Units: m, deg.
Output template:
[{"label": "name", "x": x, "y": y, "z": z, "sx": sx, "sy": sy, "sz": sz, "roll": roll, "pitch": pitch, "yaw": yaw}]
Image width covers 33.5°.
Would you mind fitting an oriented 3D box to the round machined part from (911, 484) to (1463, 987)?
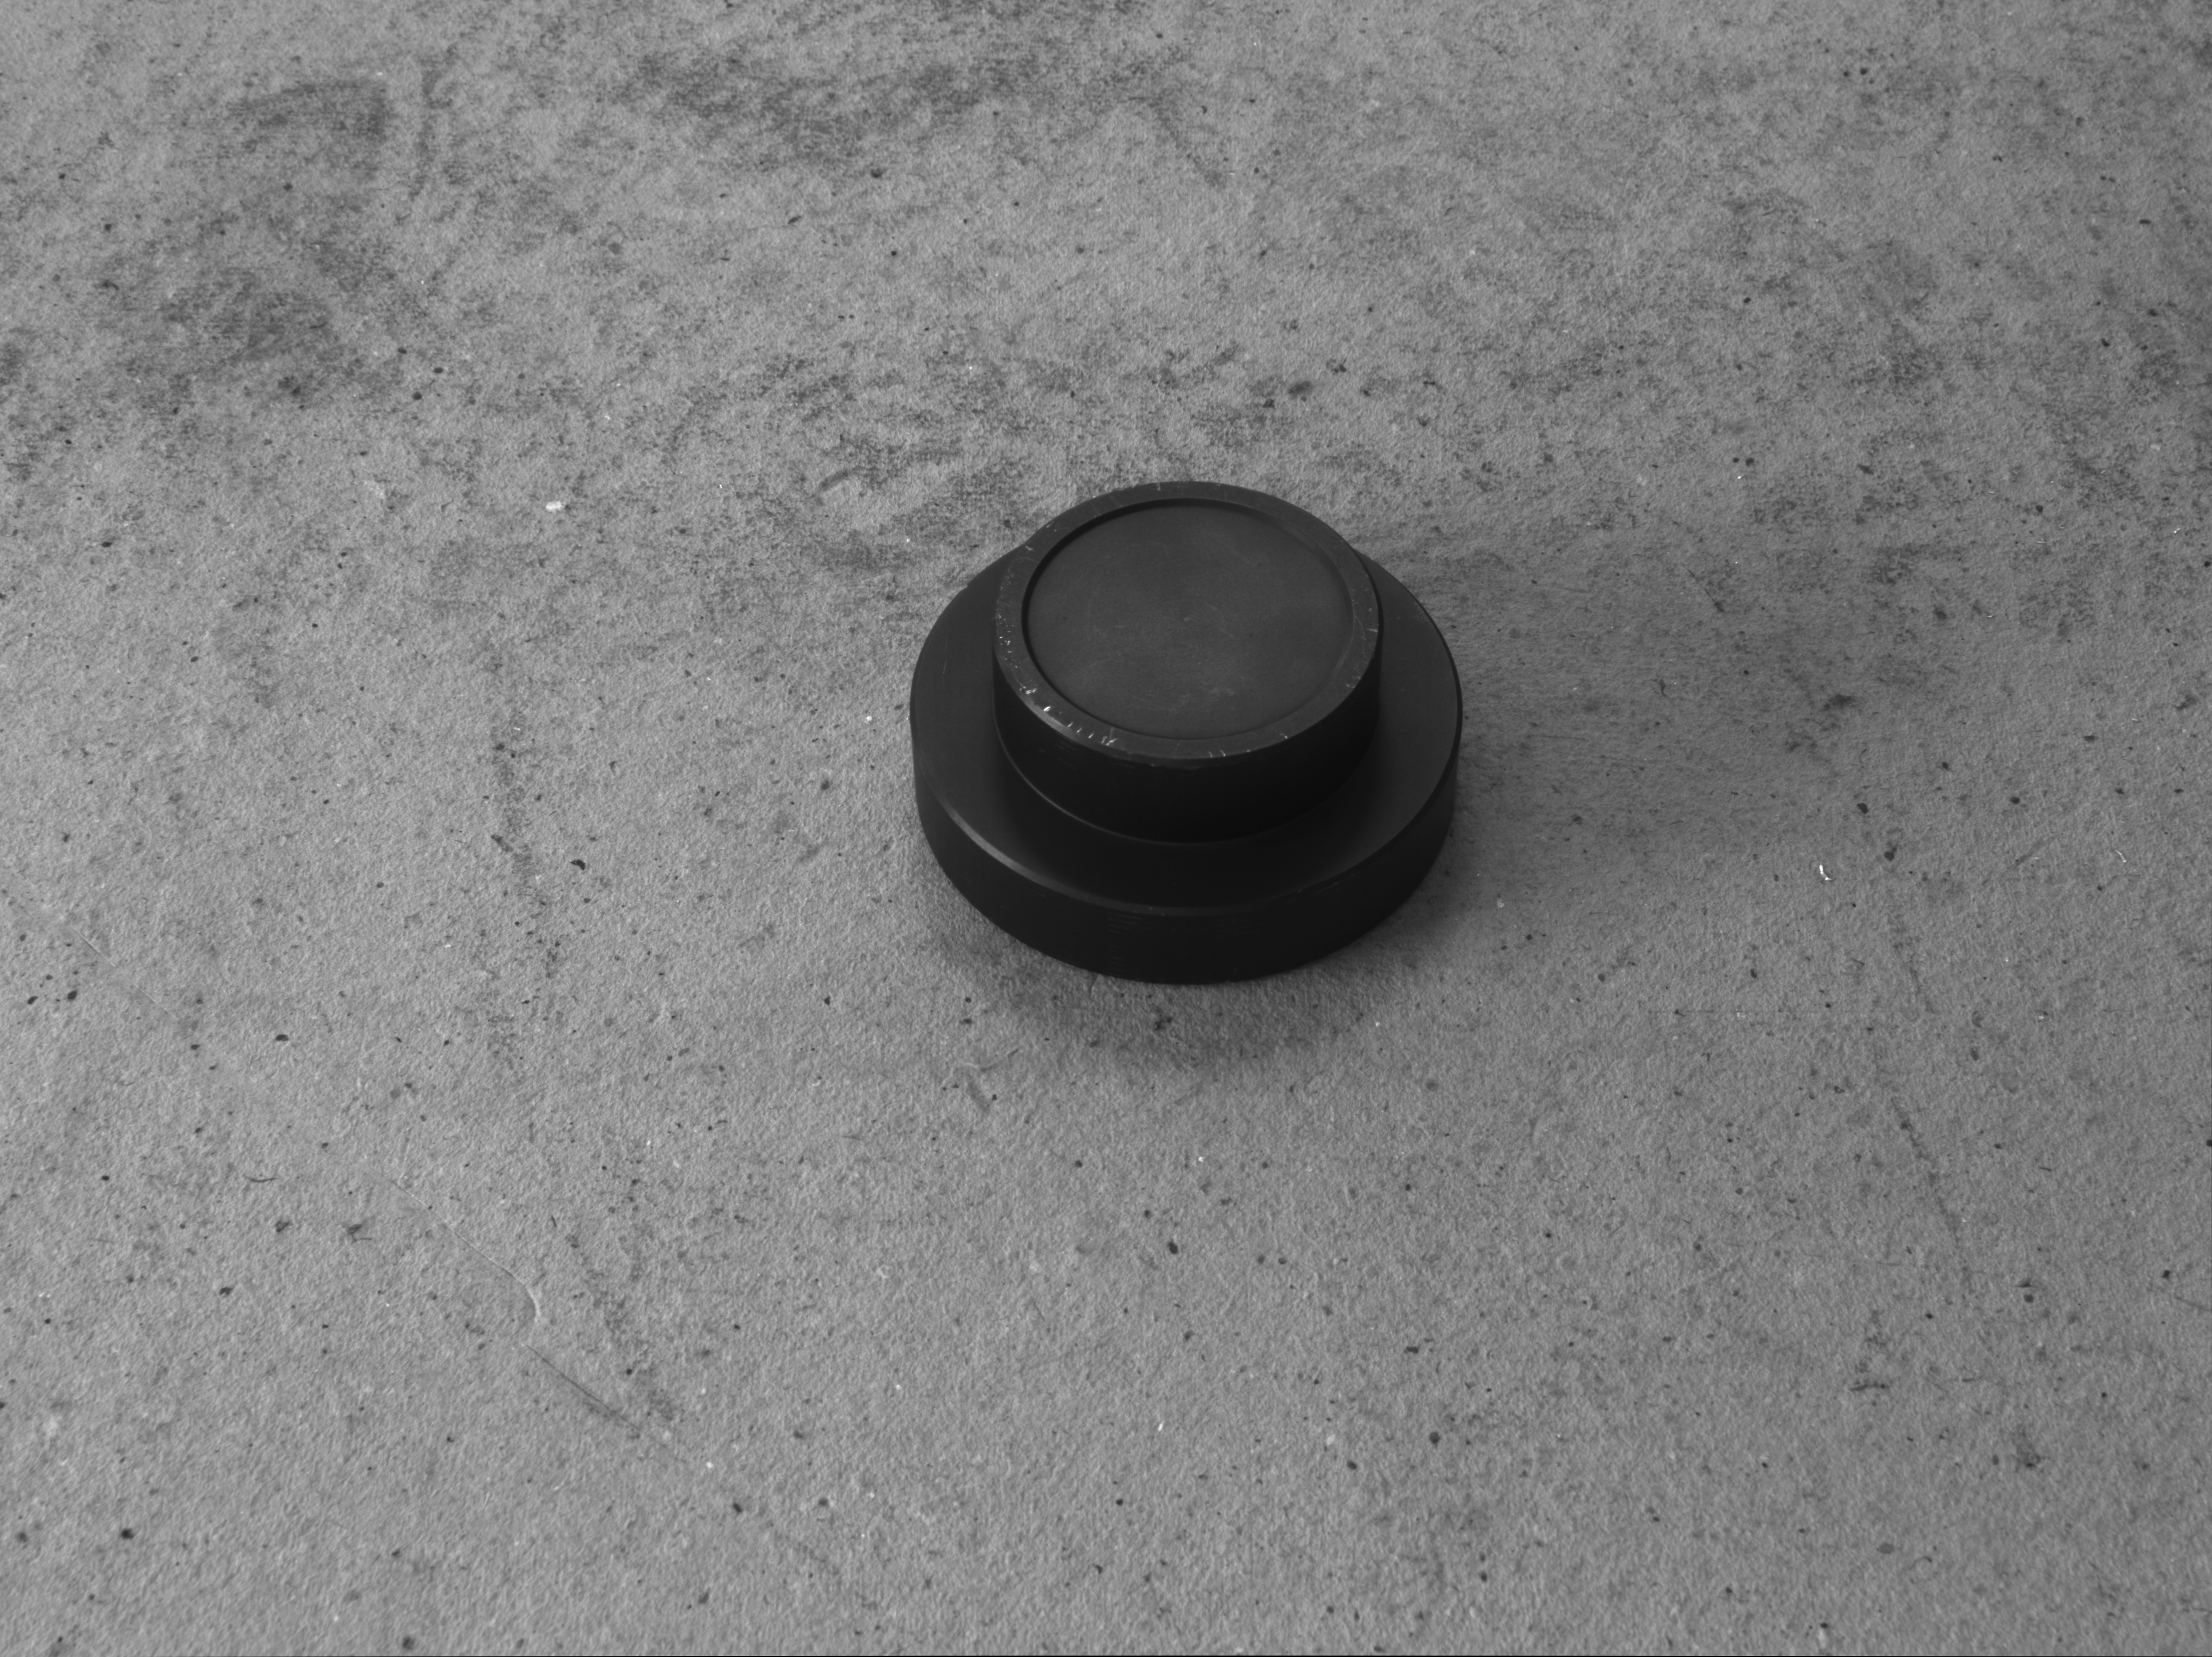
[{"label": "round machined part", "x": 0.014, "y": -0.023, "z": 0.651, "sx": 0.098, "sy": 0.042, "sz": 0.098, "roll": 0, "pitch": 50, "yaw": 0}]
